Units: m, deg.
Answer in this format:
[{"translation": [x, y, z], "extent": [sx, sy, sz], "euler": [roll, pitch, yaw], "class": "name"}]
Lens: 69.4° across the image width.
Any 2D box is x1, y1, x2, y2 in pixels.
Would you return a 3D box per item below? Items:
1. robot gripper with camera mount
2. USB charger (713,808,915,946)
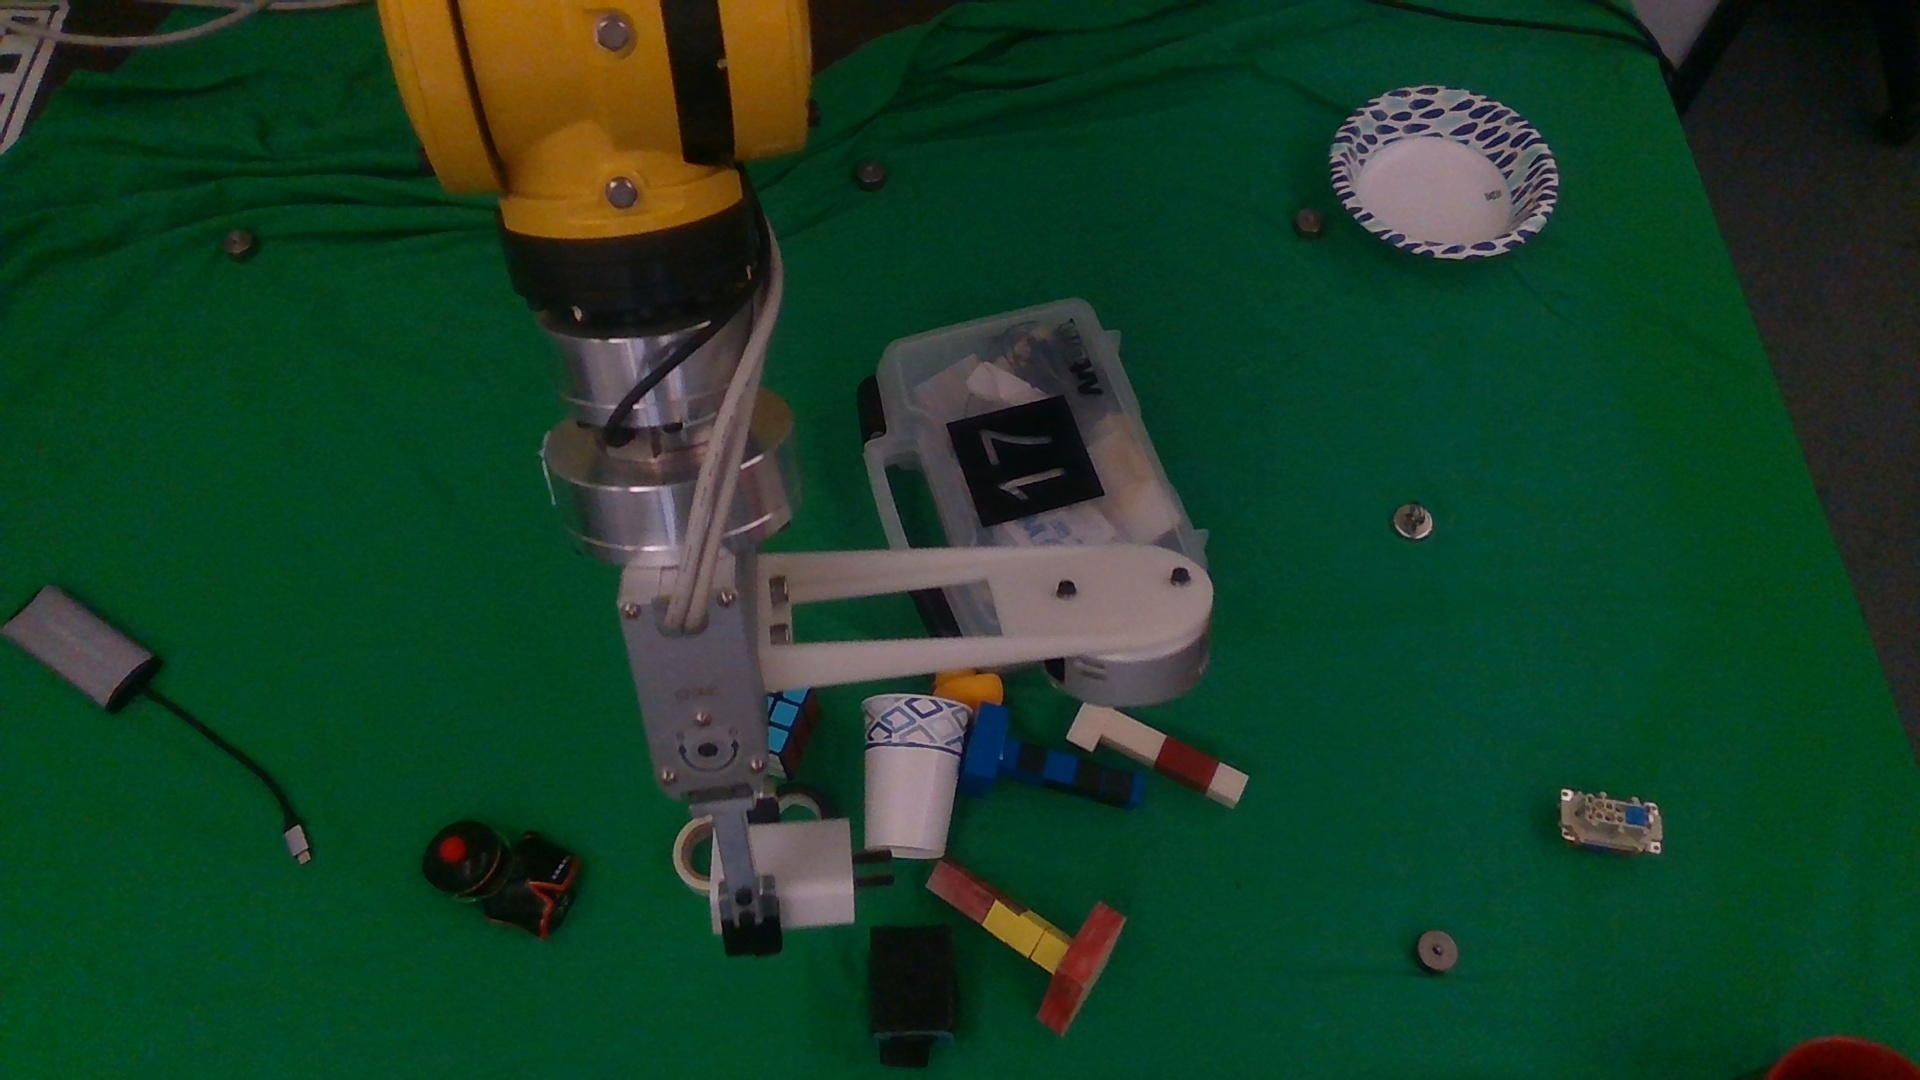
[{"translation": [-0.003, 0.055, 0.513], "extent": [0.193, 0.158, 0.119], "euler": [-7, 26, -4], "class": "robot gripper with camera mount"}, {"translation": [-0.056, 0.127, 0.542], "extent": [0.075, 0.029, 0.045], "euler": [-16, 23, -15], "class": "USB charger"}]
